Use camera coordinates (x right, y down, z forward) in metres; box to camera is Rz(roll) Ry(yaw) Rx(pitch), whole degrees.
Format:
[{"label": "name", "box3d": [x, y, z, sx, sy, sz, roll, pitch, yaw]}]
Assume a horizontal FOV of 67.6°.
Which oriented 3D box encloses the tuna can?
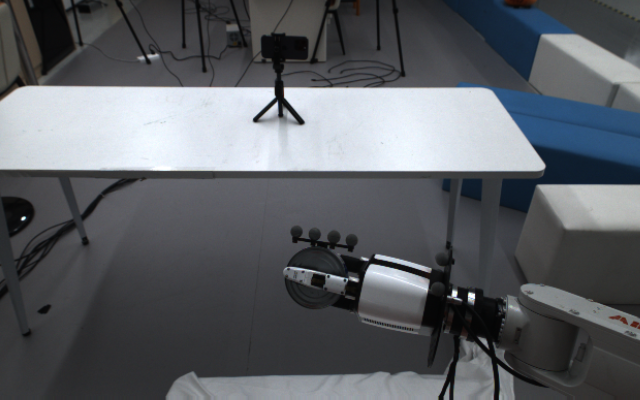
[{"label": "tuna can", "box3d": [-0.003, 0.106, 0.671, 0.085, 0.085, 0.034, 11, -7, 13]}]
